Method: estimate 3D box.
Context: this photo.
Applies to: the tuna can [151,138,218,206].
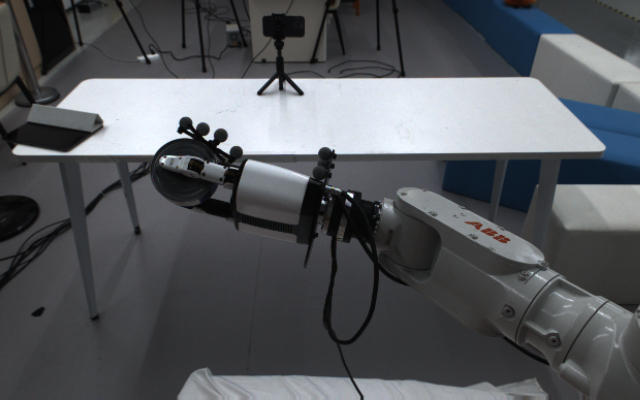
[{"bbox_3d":[-0.176,-0.035,0.638,0.085,0.034,0.085,1,75,-5],"label":"tuna can"}]
